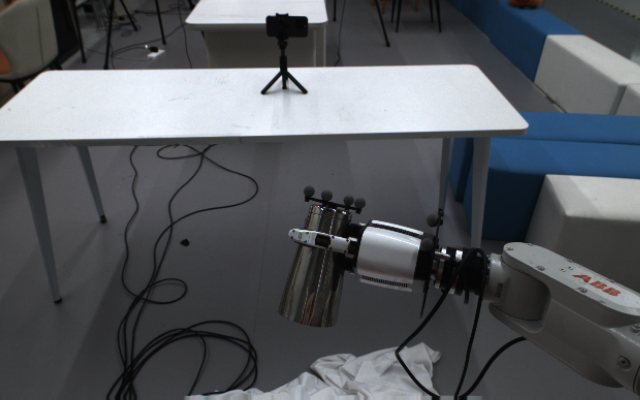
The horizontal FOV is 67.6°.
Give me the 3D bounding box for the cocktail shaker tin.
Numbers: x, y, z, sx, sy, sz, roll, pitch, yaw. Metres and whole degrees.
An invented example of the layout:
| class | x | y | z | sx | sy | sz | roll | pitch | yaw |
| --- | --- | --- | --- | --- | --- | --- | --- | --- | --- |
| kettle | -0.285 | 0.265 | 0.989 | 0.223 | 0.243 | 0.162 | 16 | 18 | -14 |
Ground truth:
| class | x | y | z | sx | sy | sz | roll | pitch | yaw |
| --- | --- | --- | --- | --- | --- | --- | --- | --- | --- |
| cocktail shaker tin | 0.002 | 0.094 | 0.741 | 0.093 | 0.170 | 0.093 | 13 | 1 | 0 |
